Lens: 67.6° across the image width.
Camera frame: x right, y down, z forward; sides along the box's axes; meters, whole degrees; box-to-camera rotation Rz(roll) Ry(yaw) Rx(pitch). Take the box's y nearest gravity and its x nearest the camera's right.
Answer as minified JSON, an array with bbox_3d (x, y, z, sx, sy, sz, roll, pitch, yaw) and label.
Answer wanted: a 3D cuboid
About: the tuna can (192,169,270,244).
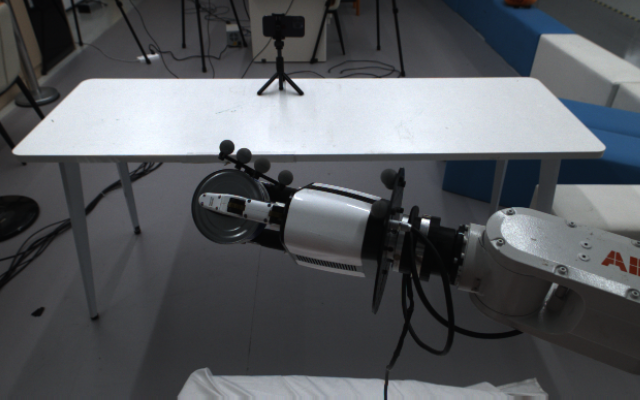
[{"bbox_3d":[-0.099,0.009,0.557,0.085,0.085,0.034,9,-4,10],"label":"tuna can"}]
